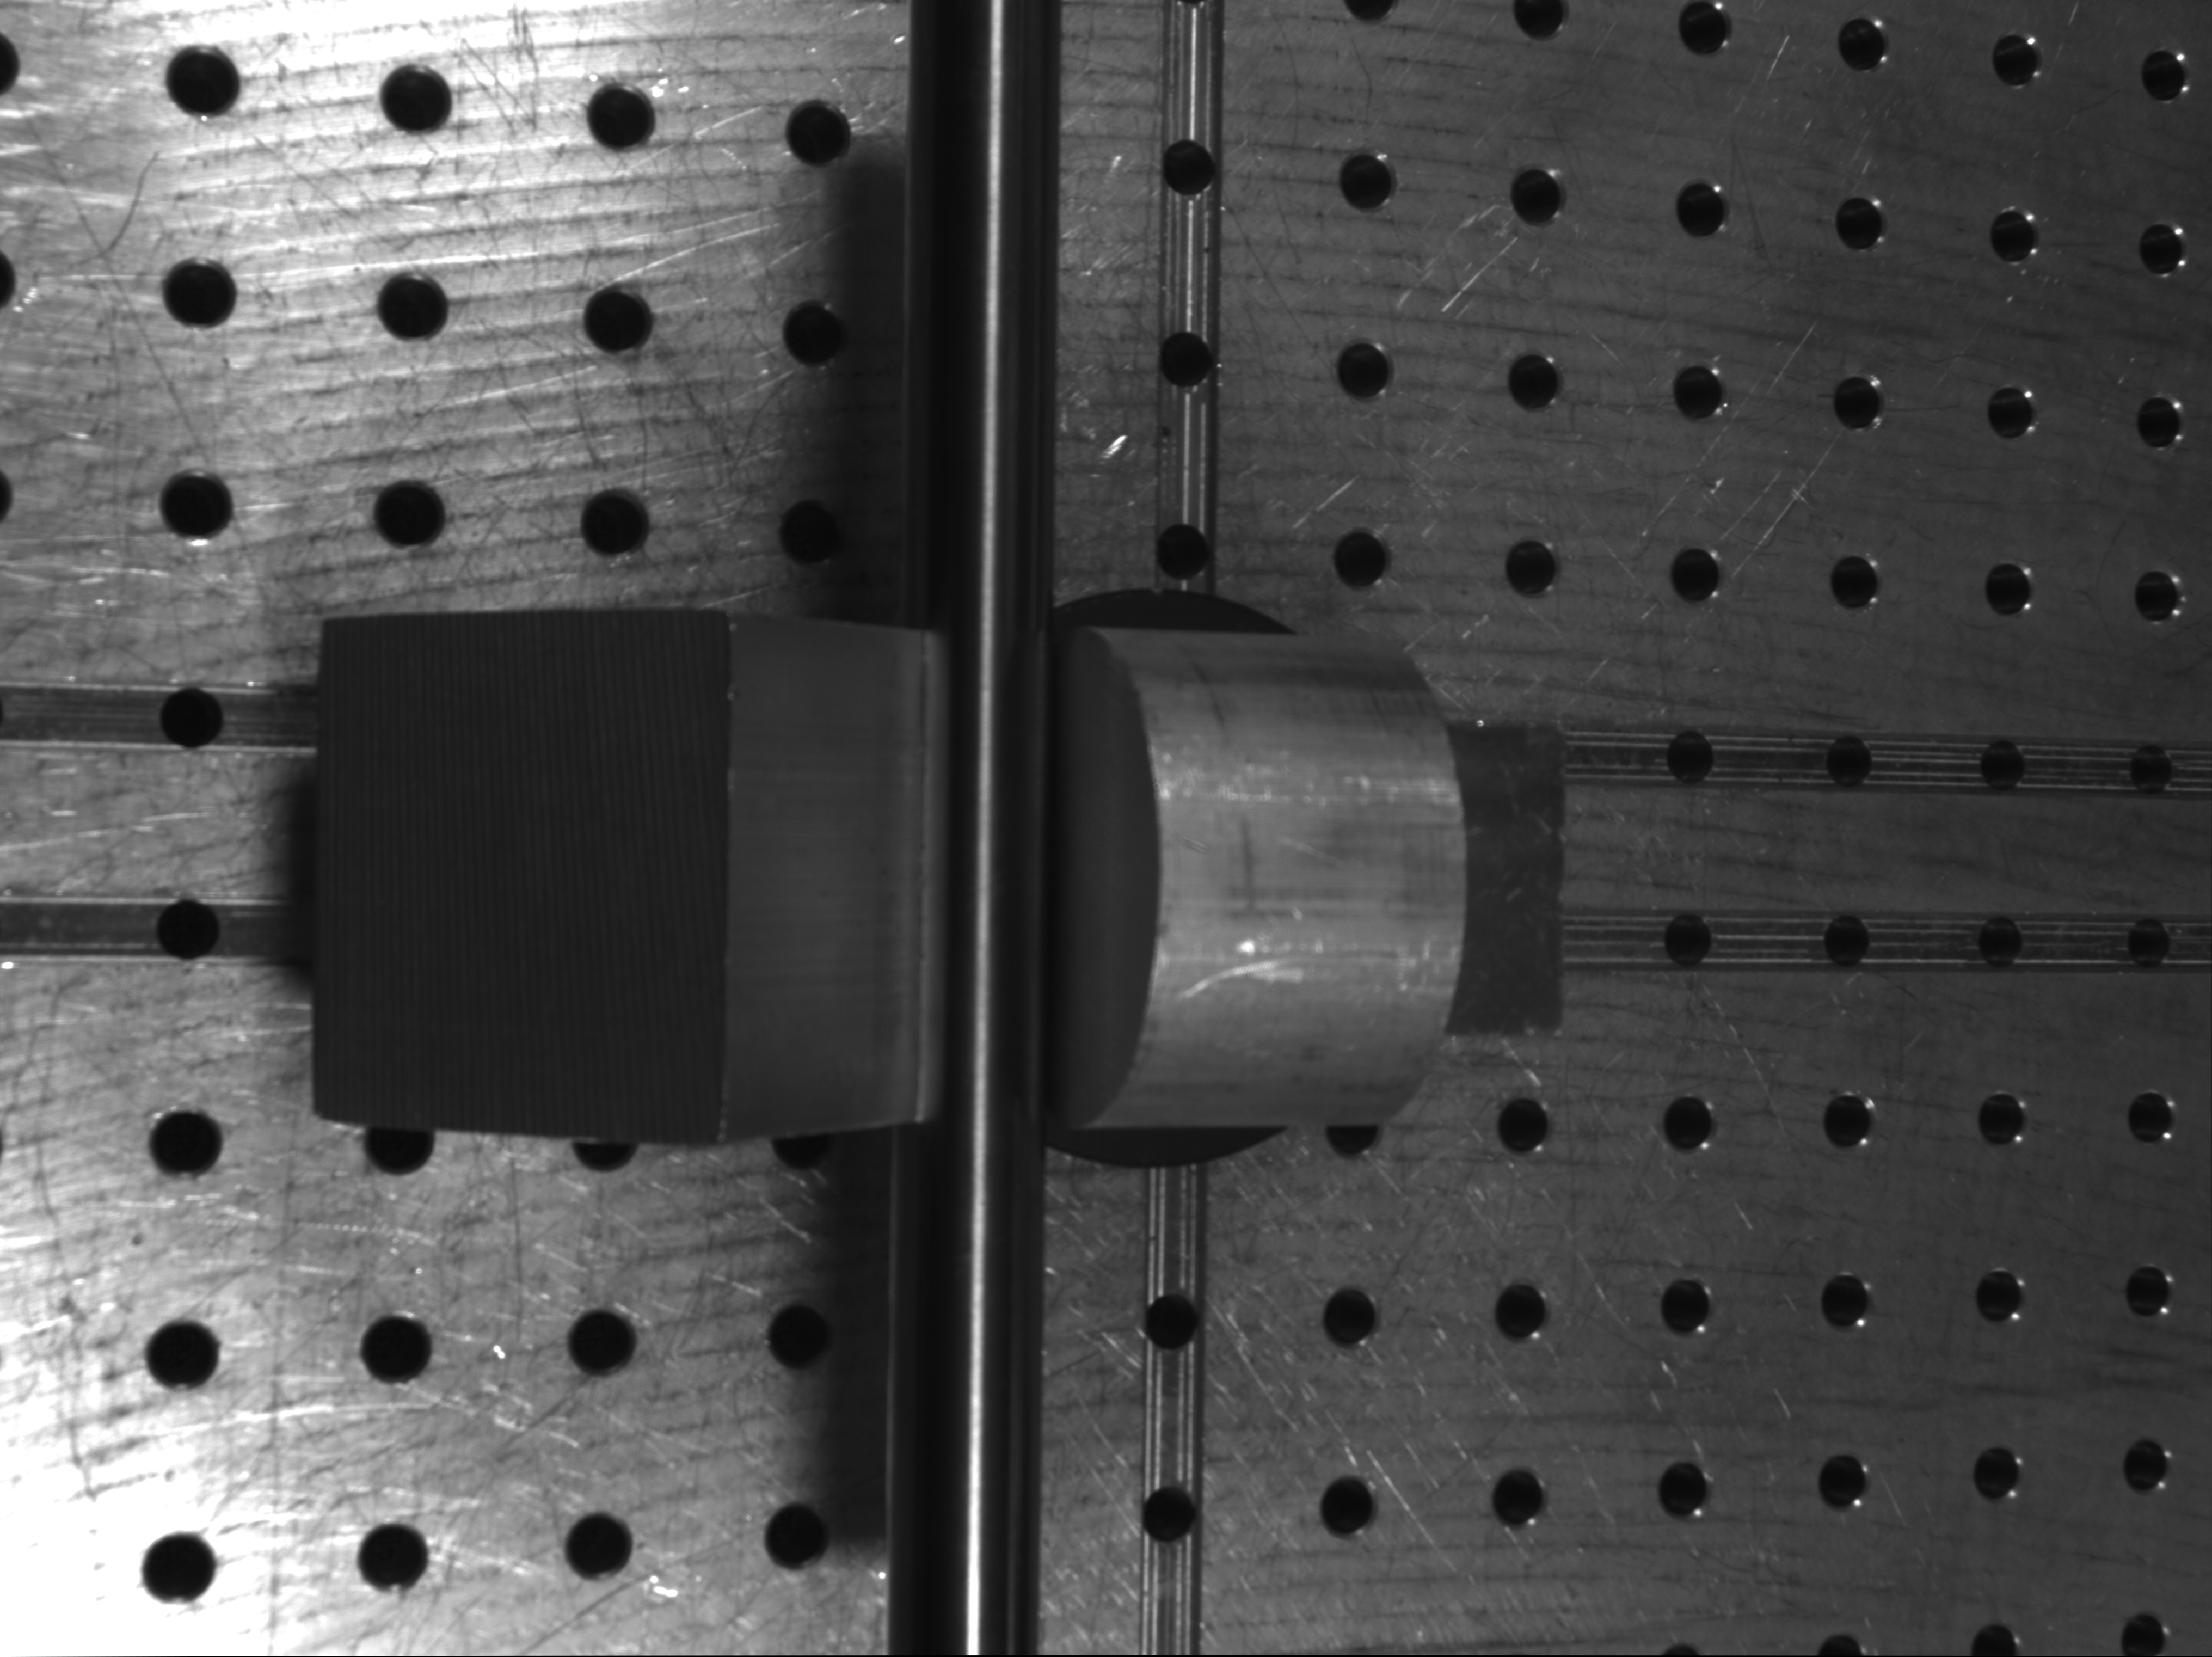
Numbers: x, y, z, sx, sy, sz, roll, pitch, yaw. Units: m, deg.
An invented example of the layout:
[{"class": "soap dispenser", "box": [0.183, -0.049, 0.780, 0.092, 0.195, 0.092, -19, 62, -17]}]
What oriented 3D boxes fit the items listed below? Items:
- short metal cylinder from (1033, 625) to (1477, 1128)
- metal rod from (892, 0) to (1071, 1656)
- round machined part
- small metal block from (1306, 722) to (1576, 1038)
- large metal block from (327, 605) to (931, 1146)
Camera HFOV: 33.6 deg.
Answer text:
[{"class": "short metal cylinder", "box": [0.020, 0.008, 0.592, 0.050, 0.080, 0.080, 1, 90, -20]}, {"class": "metal rod", "box": [-0.020, 0.000, 0.594, 0.025, 0.025, 0.300, 1, 90, -20]}, {"class": "round machined part", "box": [0.004, 0.009, 0.637, 0.098, 0.042, 0.098, 0, 90, -20]}, {"class": "small metal block", "box": [0.055, 0.008, 0.608, 0.025, 0.050, 0.050, 1, 90, -20]}, {"class": "large metal block", "box": [-0.076, 0.007, 0.583, 0.050, 0.080, 0.080, 2, 89, -61]}]
